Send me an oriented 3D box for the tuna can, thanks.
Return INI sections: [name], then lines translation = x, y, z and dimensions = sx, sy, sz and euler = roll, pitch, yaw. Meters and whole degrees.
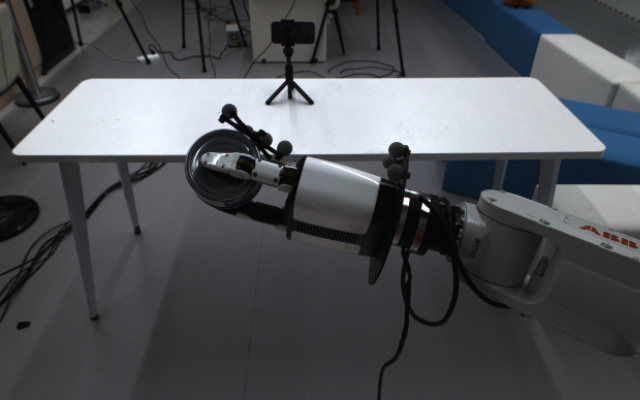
[tuna can]
translation = -0.103, -0.035, 0.542
dimensions = 0.085, 0.034, 0.085
euler = 0, 73, 0
